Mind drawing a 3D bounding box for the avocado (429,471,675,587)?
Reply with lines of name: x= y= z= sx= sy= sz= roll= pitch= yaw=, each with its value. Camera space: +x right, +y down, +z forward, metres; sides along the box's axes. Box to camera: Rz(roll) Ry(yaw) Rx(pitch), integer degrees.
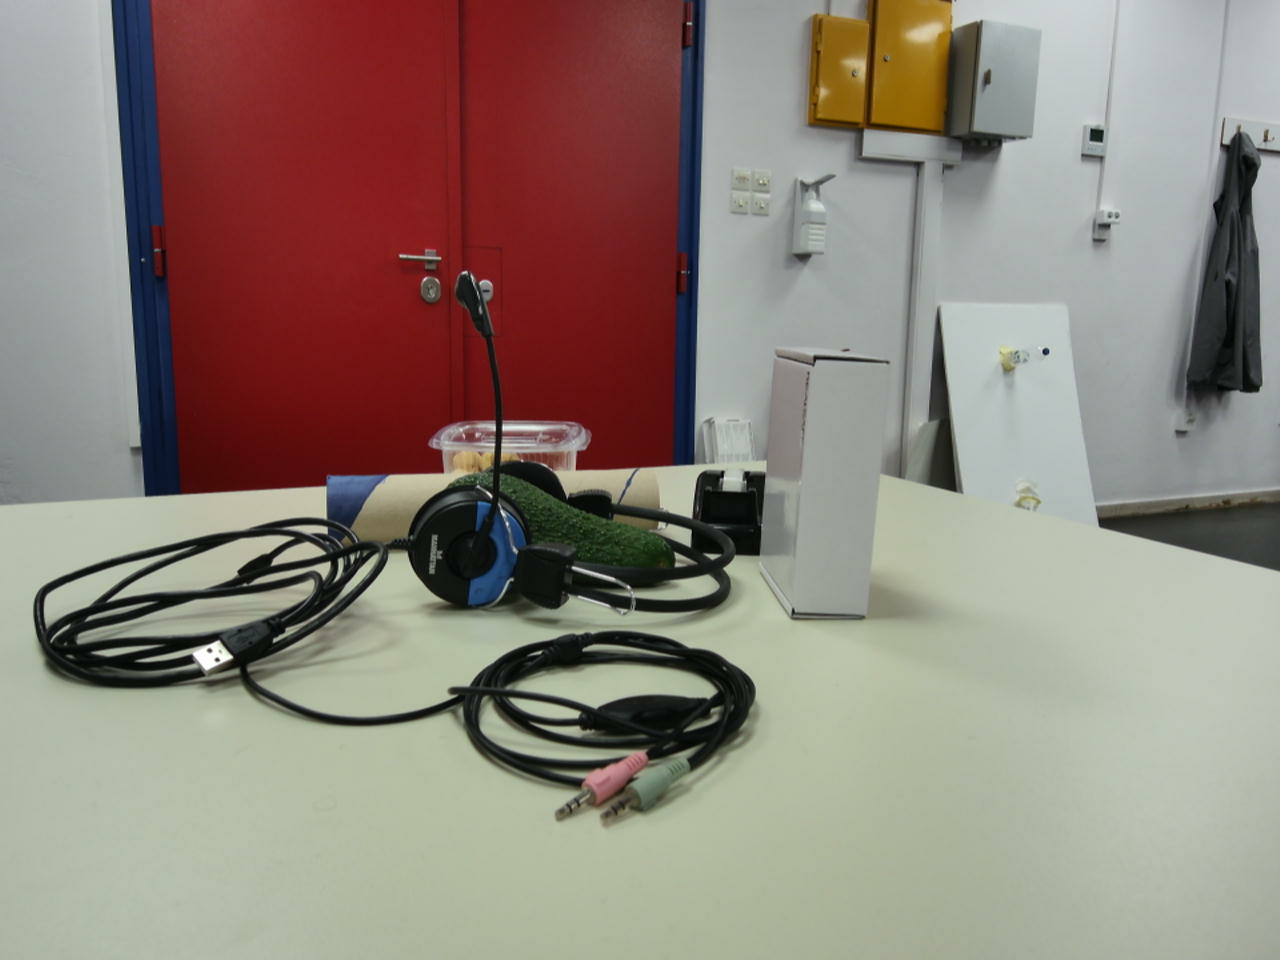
avocado: x=-0.051 y=0.028 z=0.587 sx=0.141 sy=0.067 sz=0.063 roll=-2 pitch=8 yaw=-9
